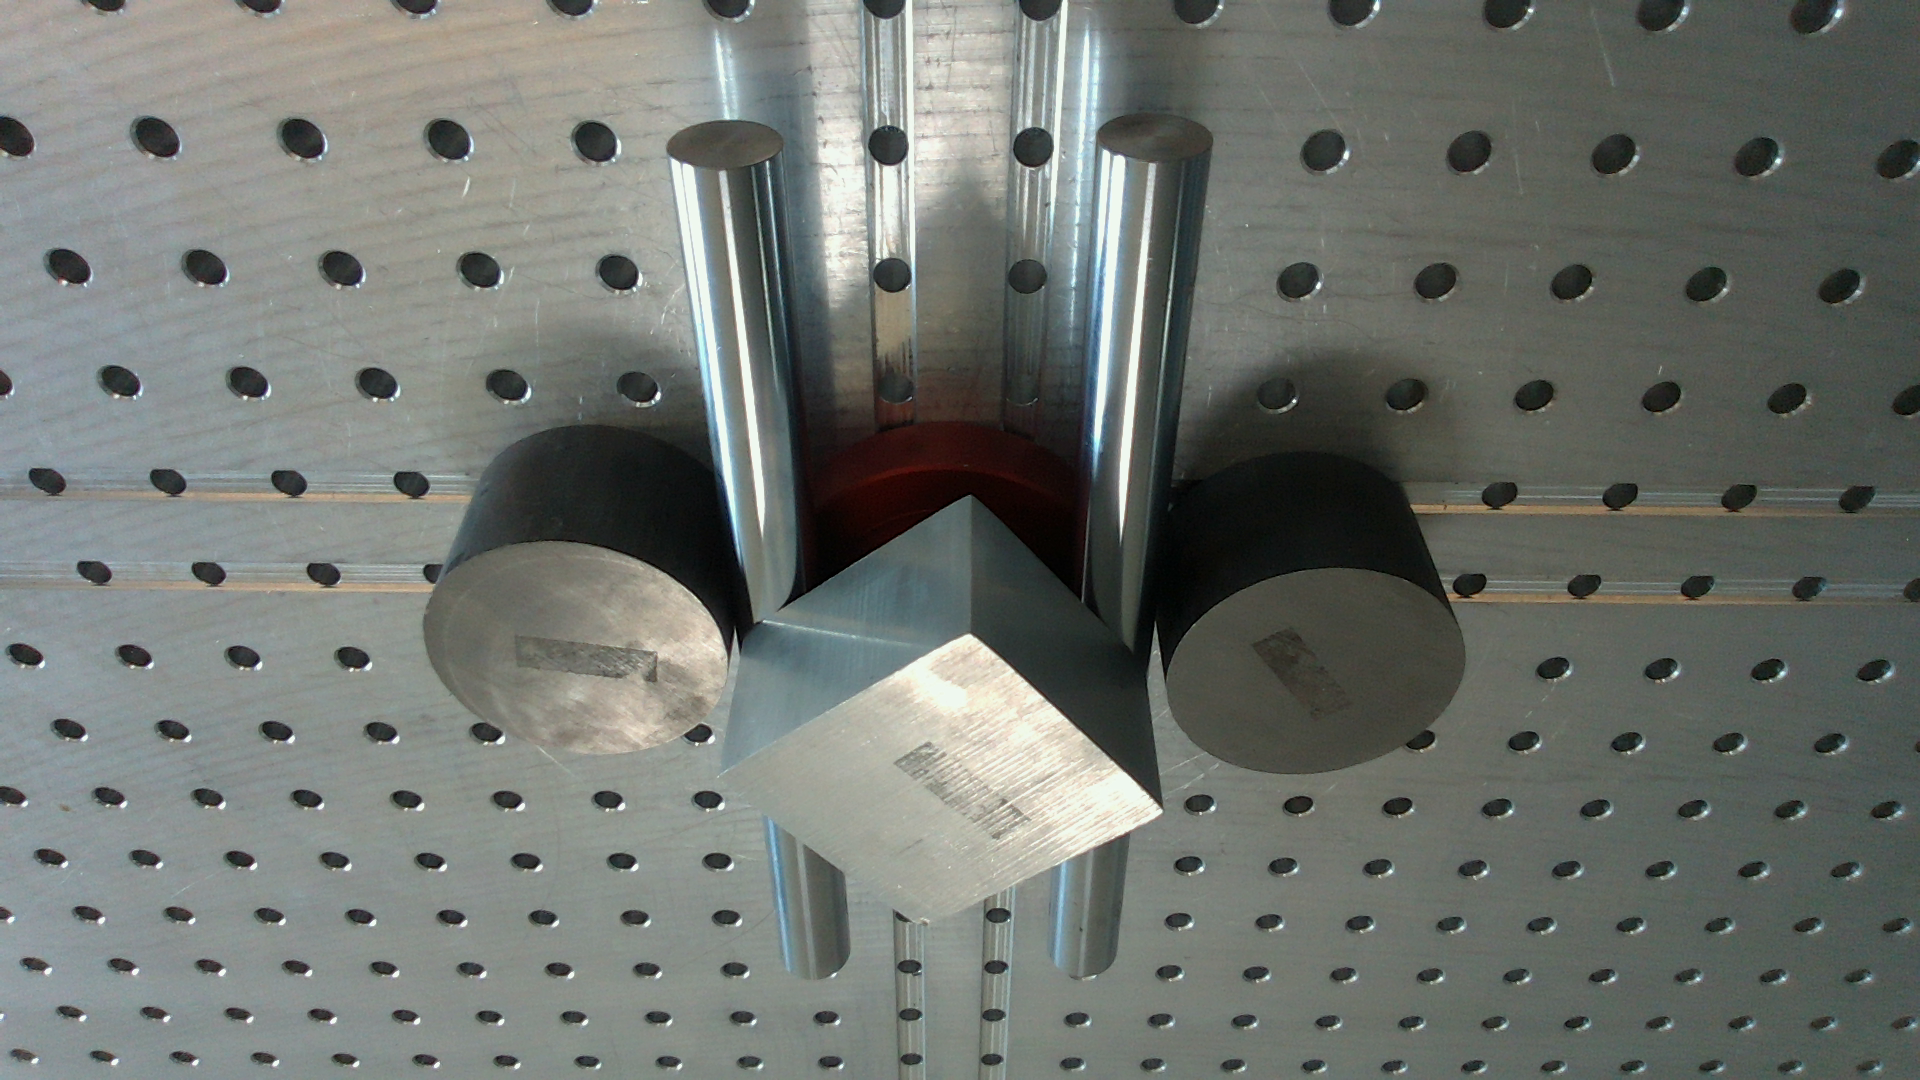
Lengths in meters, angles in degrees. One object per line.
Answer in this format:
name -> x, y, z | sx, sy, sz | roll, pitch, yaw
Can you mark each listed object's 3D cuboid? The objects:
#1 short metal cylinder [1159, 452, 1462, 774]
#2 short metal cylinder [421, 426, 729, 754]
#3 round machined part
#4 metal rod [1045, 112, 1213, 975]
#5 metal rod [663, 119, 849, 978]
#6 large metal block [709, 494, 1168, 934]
short metal cylinder -> 0.097, 0.022, 0.395 | 0.080, 0.050, 0.080 | 0, 130, 0
short metal cylinder -> -0.104, 0.015, 0.389 | 0.080, 0.050, 0.080 | 0, 130, 0
round machined part -> -0.005, 0.017, 0.398 | 0.098, 0.042, 0.098 | 0, 130, 0
metal rod -> 0.042, 0.028, 0.390 | 0.025, 0.025, 0.300 | 0, 130, 0
metal rod -> -0.051, 0.030, 0.391 | 0.025, 0.025, 0.300 | 0, 130, 0
large metal block -> -0.004, 0.048, 0.356 | 0.080, 0.050, 0.080 | -31, 124, 23
